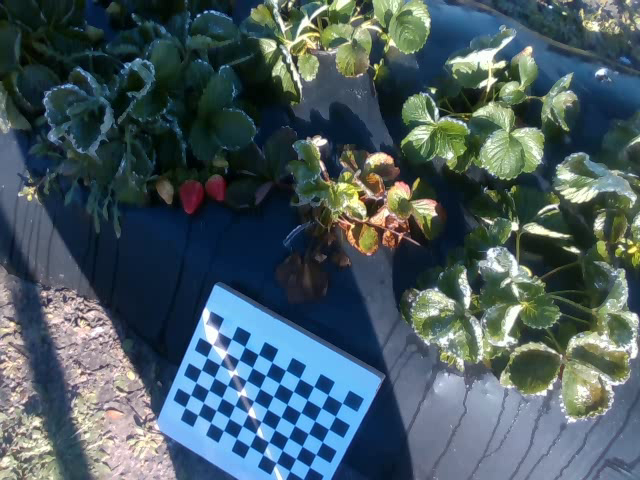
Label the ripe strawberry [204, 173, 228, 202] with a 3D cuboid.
[{"bbox_3d":[-0.143,-0.071,0.855,0.036,0.041,0.030,-37,-7,19],"label":"ripe strawberry"}]

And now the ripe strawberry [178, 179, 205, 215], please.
[{"bbox_3d":[-0.179,-0.055,0.849,0.036,0.052,0.040,-11,-31,17],"label":"ripe strawberry"}]
